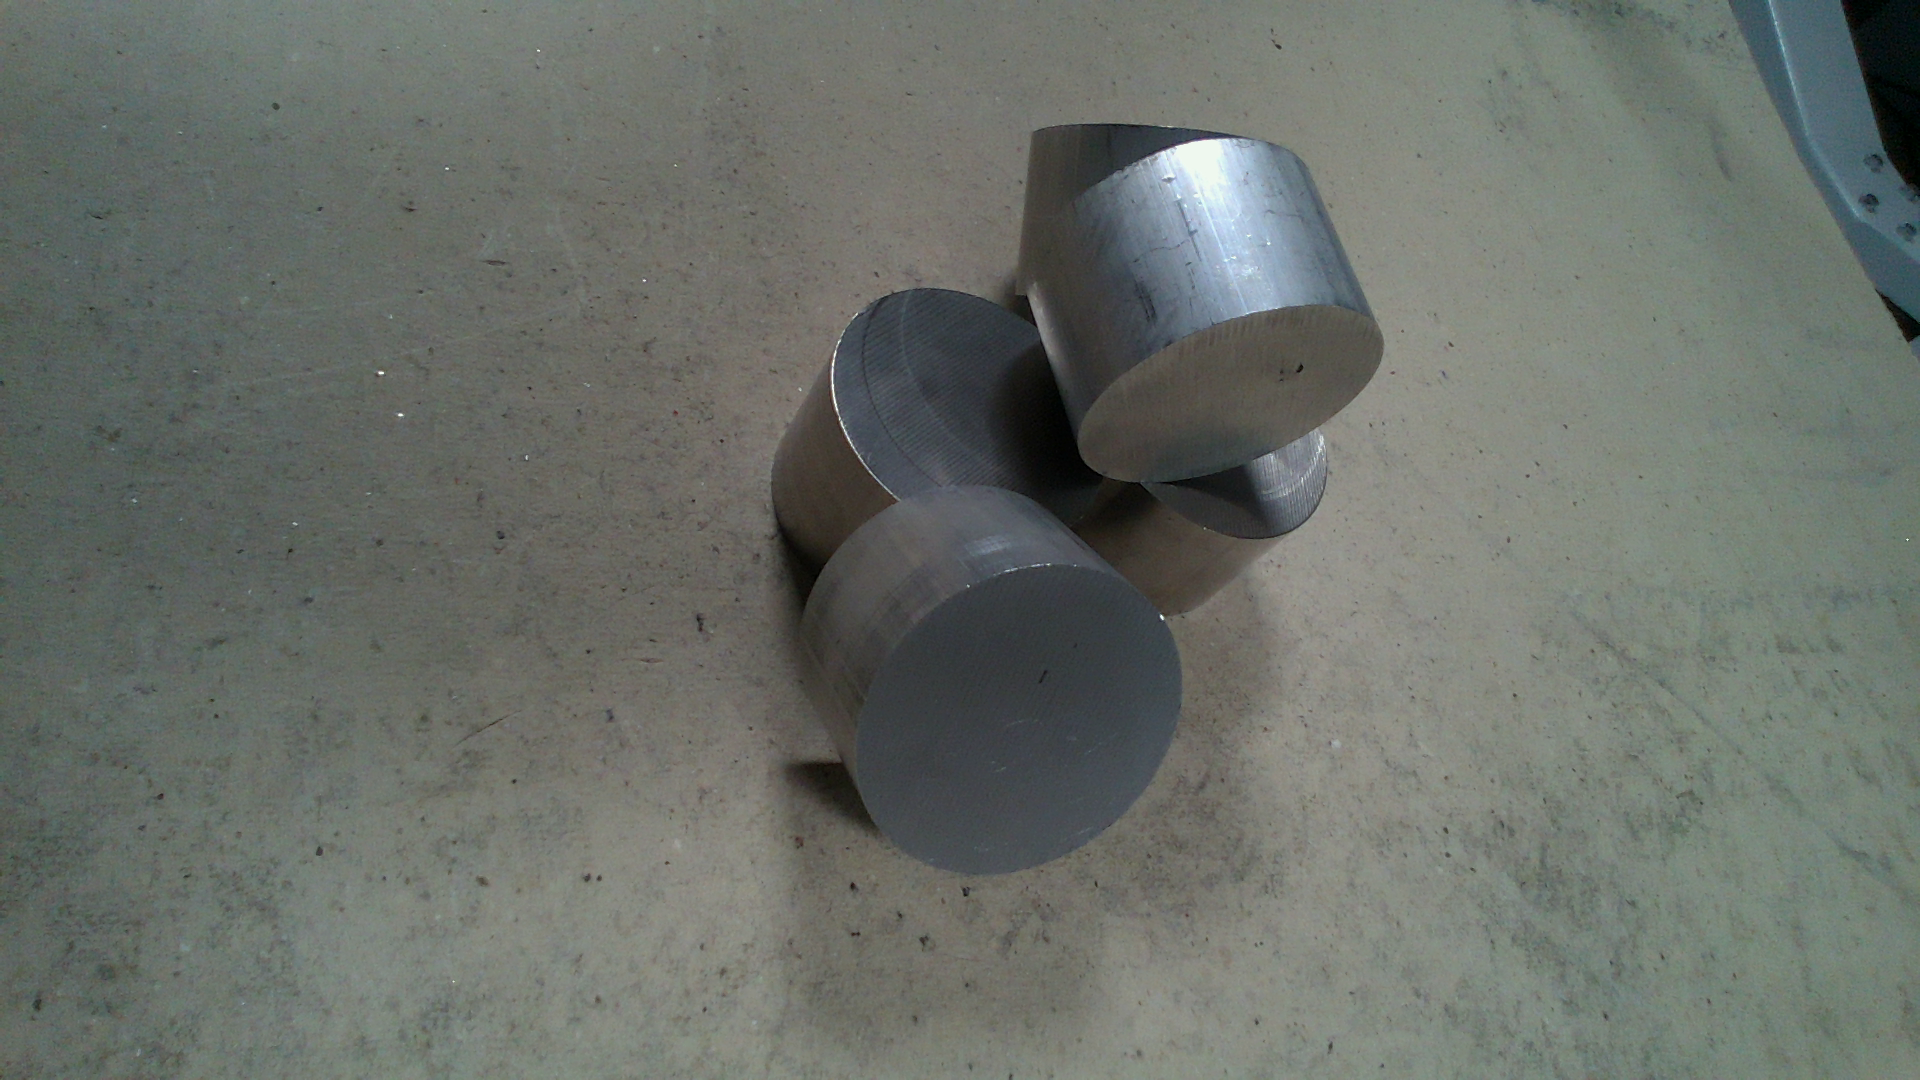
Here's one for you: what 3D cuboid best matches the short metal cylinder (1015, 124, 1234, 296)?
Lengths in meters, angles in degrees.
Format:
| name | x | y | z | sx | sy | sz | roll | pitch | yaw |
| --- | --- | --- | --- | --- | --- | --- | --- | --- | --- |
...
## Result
| name | x | y | z | sx | sy | sz | roll | pitch | yaw |
| --- | --- | --- | --- | --- | --- | --- | --- | --- | --- |
| short metal cylinder | 0.060 | -0.100 | 0.439 | 0.080 | 0.080 | 0.050 | 1 | 100 | -28 |

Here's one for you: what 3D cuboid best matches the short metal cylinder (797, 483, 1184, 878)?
| name | x | y | z | sx | sy | sz | roll | pitch | yaw |
| --- | --- | --- | --- | --- | --- | --- | --- | --- | --- |
| short metal cylinder | 0.006 | 0.032 | 0.329 | 0.080 | 0.080 | 0.050 | 7 | 19 | -25 |

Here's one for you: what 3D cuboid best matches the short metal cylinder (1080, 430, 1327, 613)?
| name | x | y | z | sx | sy | sz | roll | pitch | yaw |
| --- | --- | --- | --- | --- | --- | --- | --- | --- | --- |
| short metal cylinder | 0.064 | -0.024 | 0.422 | 0.080 | 0.050 | 0.080 | 14 | 56 | -21 |

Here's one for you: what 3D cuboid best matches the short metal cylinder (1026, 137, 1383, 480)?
| name | x | y | z | sx | sy | sz | roll | pitch | yaw |
| --- | --- | --- | --- | --- | --- | --- | --- | --- | --- |
| short metal cylinder | 0.062 | -0.057 | 0.359 | 0.080 | 0.080 | 0.050 | -2 | 62 | -29 |

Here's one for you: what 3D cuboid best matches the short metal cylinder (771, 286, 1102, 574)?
| name | x | y | z | sx | sy | sz | roll | pitch | yaw |
| --- | --- | --- | --- | --- | --- | --- | --- | --- | --- |
| short metal cylinder | -0.007 | -0.023 | 0.384 | 0.080 | 0.050 | 0.080 | 14 | 56 | -21 |
